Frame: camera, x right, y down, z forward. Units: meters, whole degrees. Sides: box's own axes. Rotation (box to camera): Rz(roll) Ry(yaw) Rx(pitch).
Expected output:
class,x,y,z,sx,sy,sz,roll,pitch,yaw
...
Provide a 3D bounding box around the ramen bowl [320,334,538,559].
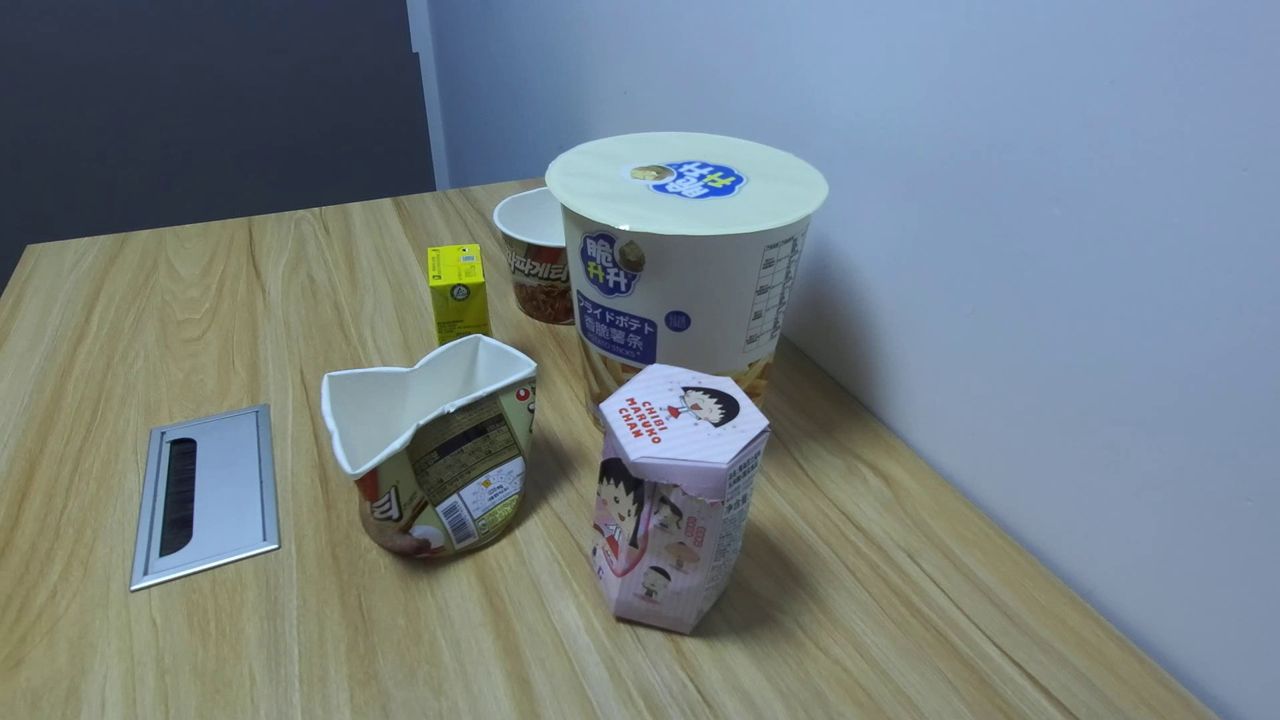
class,x,y,z,sx,sy,sz,roll,pitch,yaw
ramen bowl,-0.129,0.055,0.468,0.129,0.093,0.111,-17,40,-25

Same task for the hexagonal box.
class,x,y,z,sx,sy,sz,roll,pitch,yaw
hexagonal box,0.020,0.079,0.407,0.090,0.134,0.091,13,37,12

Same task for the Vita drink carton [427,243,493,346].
class,x,y,z,sx,sy,sz,roll,pitch,yaw
Vita drink carton,-0.145,-0.031,0.580,0.044,0.109,0.066,-8,37,-13

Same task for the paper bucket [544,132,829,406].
class,x,y,z,sx,sy,sz,roll,pitch,yaw
paper bucket,0.029,-0.047,0.532,0.198,0.195,0.198,1,35,-1
